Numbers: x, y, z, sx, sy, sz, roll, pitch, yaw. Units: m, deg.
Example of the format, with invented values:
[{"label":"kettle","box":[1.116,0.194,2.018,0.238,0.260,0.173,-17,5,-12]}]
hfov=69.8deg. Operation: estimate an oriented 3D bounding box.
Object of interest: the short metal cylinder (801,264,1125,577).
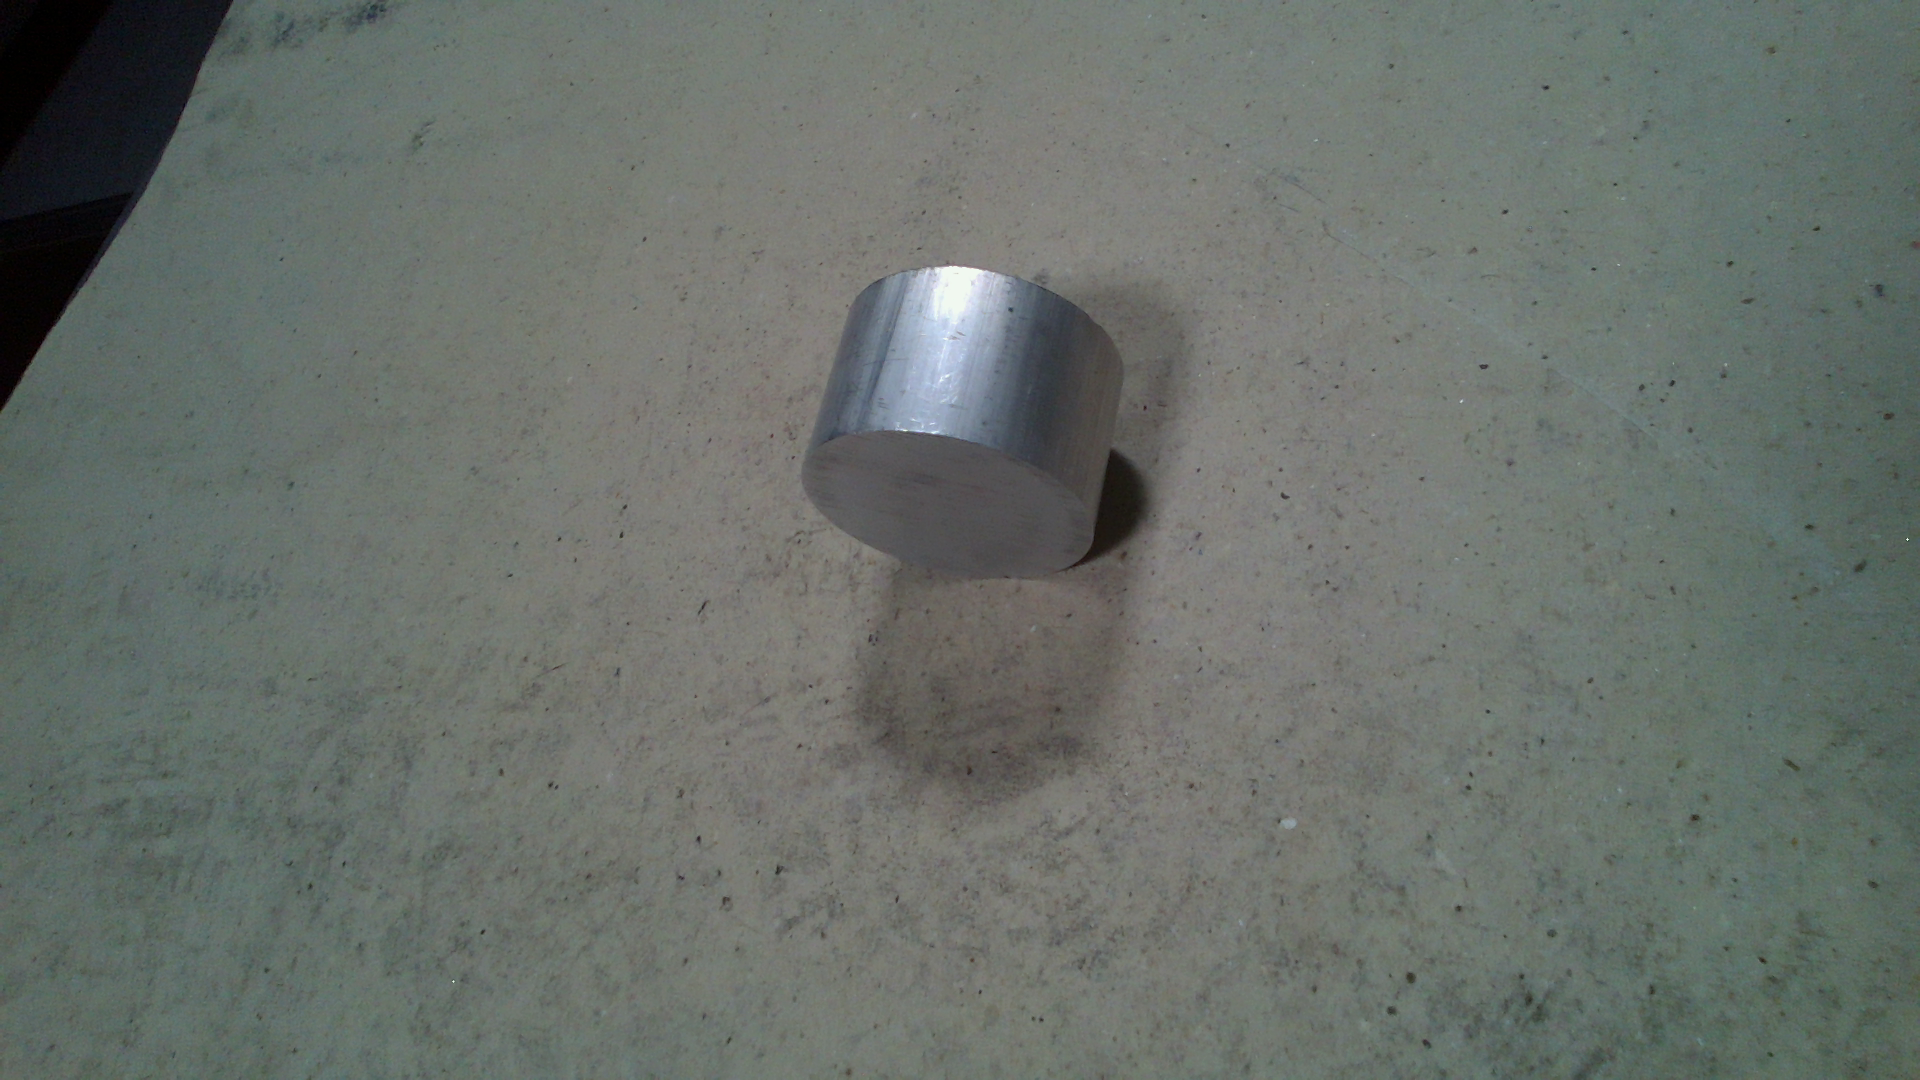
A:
[{"label":"short metal cylinder","box":[0.002,-0.030,0.377,0.080,0.080,0.050,-1,61,28]}]
